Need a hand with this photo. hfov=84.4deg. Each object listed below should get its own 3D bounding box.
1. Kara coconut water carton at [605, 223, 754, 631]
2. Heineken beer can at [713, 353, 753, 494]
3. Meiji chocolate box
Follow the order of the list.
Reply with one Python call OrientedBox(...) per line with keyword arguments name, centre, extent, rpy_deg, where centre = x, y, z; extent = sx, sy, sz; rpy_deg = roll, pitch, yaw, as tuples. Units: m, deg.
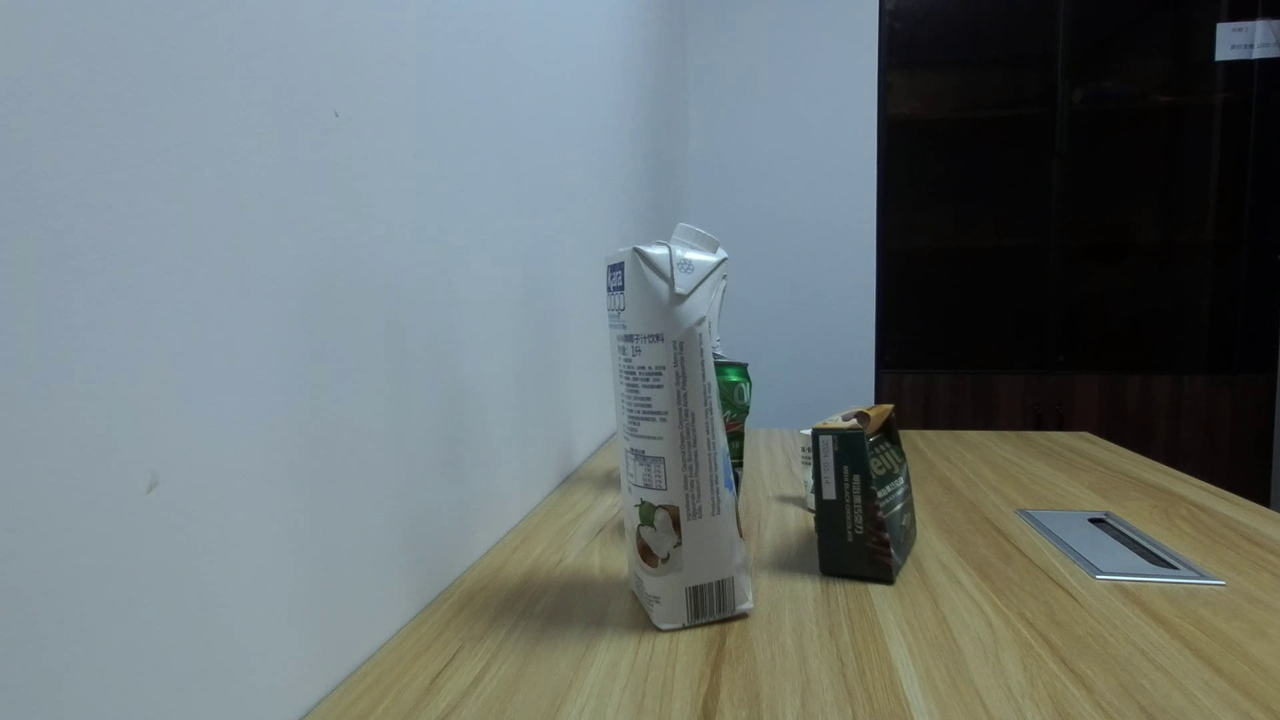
OrientedBox(name="Kara coconut water carton", centre=(0.024, 0.038, 0.451), extent=(0.071, 0.244, 0.099), rpy_deg=(-5, 9, -14))
OrientedBox(name="Heineken beer can", centre=(0.050, 0.073, 0.592), extent=(0.078, 0.159, 0.067), rpy_deg=(7, 5, 9))
OrientedBox(name="Meiji chocolate box", centre=(0.170, 0.098, 0.542), extent=(0.058, 0.110, 0.113), rpy_deg=(-4, 2, 21))
